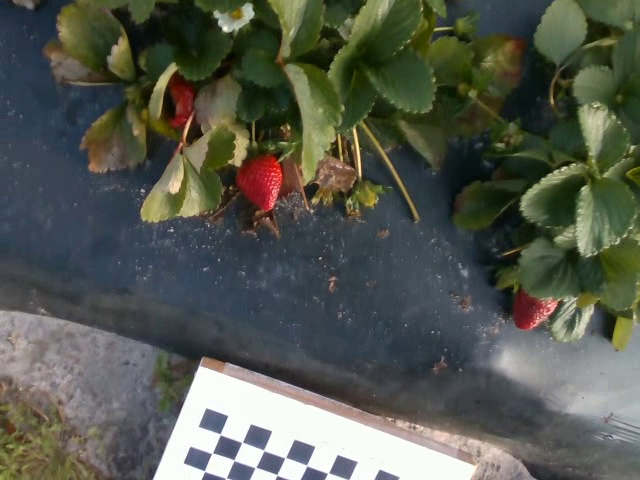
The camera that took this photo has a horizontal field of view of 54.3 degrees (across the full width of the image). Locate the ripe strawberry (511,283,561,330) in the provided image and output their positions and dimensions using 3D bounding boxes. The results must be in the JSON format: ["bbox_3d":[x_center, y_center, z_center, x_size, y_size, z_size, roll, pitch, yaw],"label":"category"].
[{"bbox_3d":[0.124,0.042,0.360,0.029,0.036,0.021,24,7,-3],"label":"ripe strawberry"}]

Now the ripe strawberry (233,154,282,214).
[{"bbox_3d":[-0.033,-0.029,0.329,0.031,0.030,0.025,-14,-3,3],"label":"ripe strawberry"}]
